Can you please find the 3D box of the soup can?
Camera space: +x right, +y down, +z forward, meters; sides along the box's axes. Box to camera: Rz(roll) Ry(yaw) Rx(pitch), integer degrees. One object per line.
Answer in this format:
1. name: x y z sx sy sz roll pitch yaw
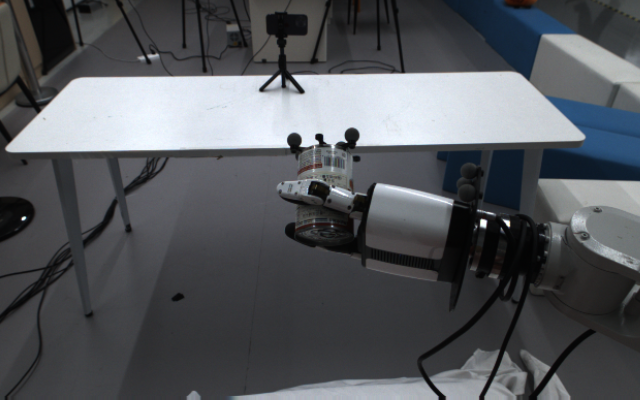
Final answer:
1. soup can: 0.007 -0.004 0.557 0.067 0.067 0.101 2 68 -1
